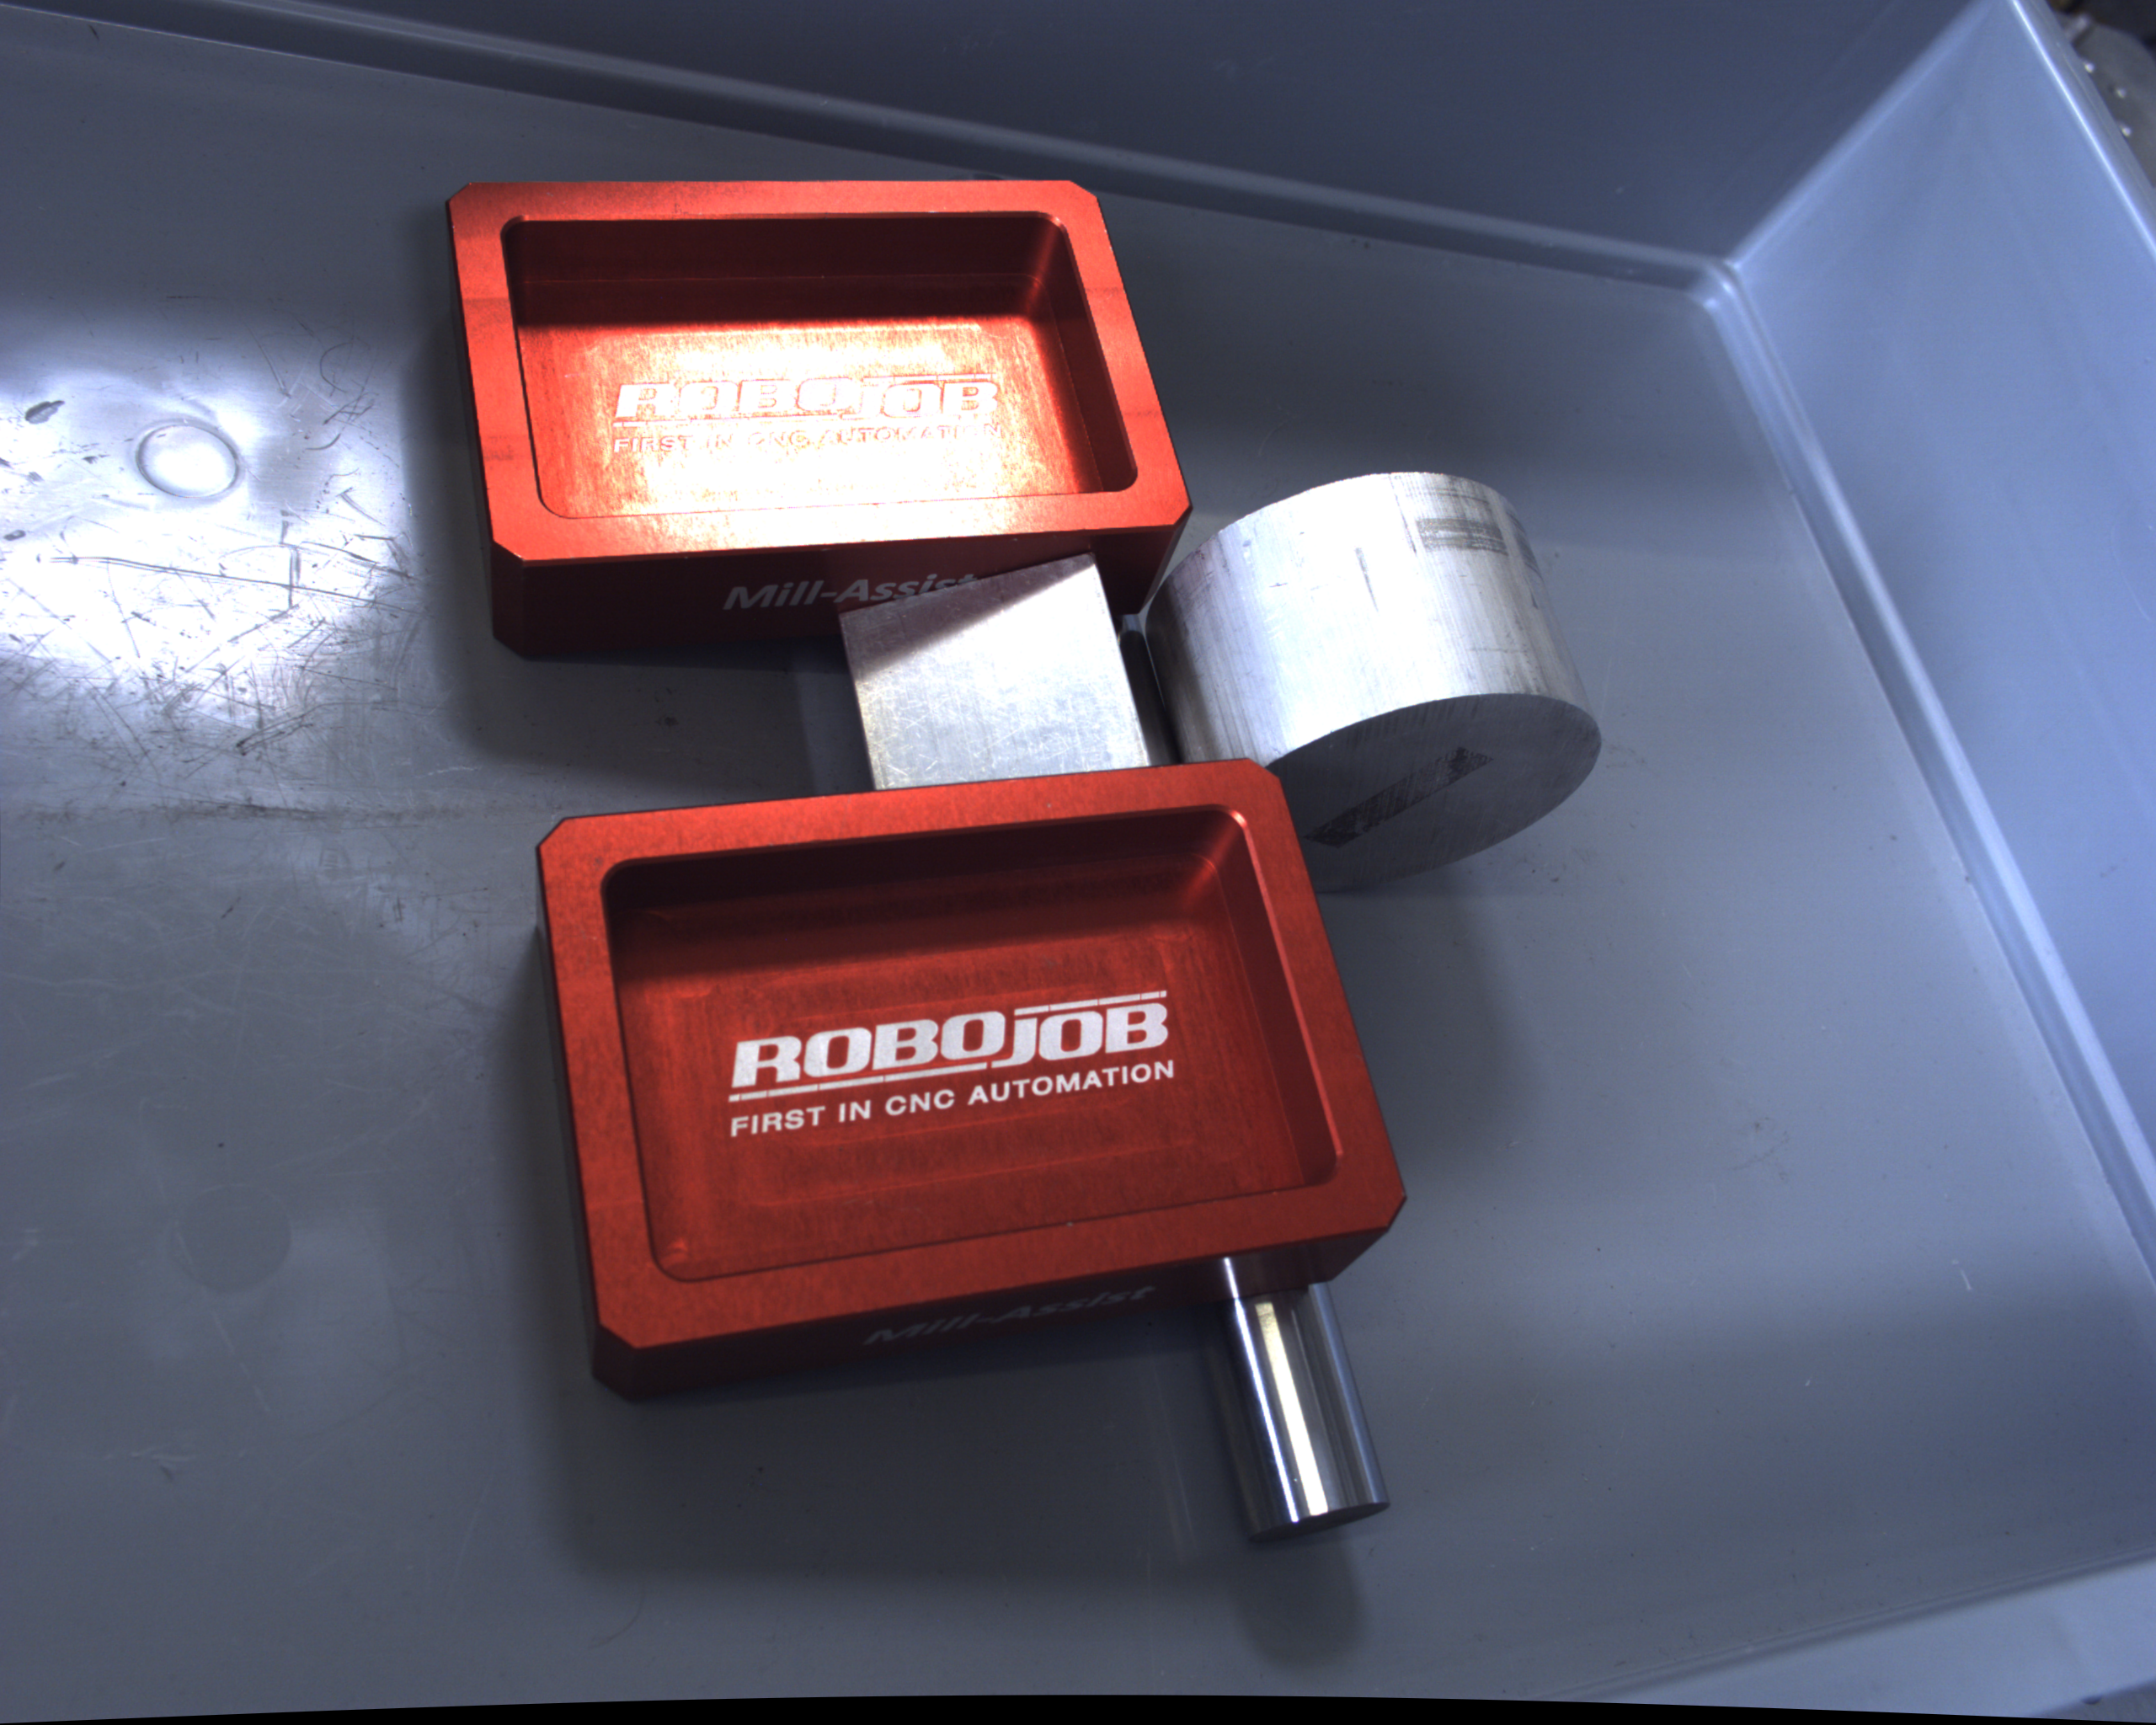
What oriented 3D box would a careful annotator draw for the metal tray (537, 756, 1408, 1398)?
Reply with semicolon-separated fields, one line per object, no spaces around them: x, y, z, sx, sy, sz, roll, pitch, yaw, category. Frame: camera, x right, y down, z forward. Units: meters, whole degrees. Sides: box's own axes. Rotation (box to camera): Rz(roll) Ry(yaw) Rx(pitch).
-0.020;0.032;0.352;0.131;0.030;0.090;-6;64;-17;metal tray

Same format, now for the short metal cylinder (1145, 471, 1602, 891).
0.058;-0.034;0.421;0.081;0.080;0.050;0;62;-28;short metal cylinder

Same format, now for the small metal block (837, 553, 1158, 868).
-0.015;-0.026;0.398;0.050;0.025;0.050;-13;65;0;small metal block

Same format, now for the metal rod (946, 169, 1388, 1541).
0.008;-0.019;0.419;0.025;0.025;0.299;0;62;-28;metal rod

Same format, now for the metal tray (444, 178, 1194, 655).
-0.052;-0.090;0.410;0.131;0.030;0.090;-6;64;-17;metal tray
